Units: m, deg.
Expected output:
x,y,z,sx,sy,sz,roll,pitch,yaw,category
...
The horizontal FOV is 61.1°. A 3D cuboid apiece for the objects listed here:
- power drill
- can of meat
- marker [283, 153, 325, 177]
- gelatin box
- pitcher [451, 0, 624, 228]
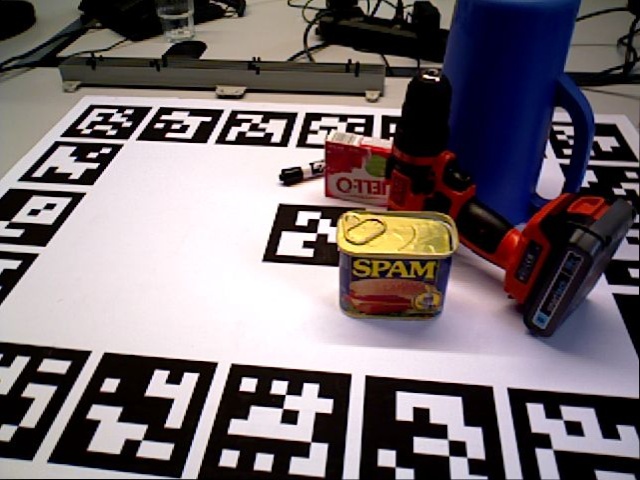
x,y,z,sx,sy,sz,roll,pitch,yaw,category
0.145,-0.050,0.486,0.187,0.189,0.056,34,55,25,power drill
0.072,0.024,0.478,0.101,0.085,0.056,3,40,5,can of meat
0.012,-0.100,0.666,0.119,0.020,0.019,-15,44,-13,marker
0.060,-0.079,0.605,0.089,0.075,0.029,12,48,12,gelatin box
0.203,-0.132,0.539,0.189,0.247,0.130,23,50,34,pitcher
